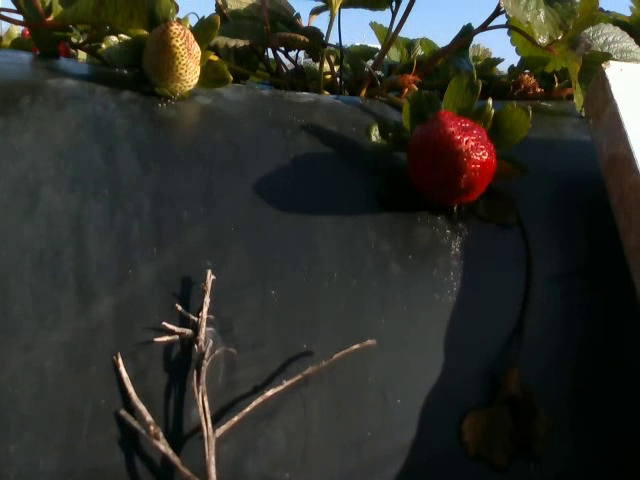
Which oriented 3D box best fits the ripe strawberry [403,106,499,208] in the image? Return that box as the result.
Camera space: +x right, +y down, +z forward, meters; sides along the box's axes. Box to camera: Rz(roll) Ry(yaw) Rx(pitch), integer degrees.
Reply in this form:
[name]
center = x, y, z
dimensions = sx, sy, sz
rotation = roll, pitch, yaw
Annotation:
[ripe strawberry]
center = 0.017, -0.012, 0.076
dimensions = 0.015, 0.015, 0.022
rotation = 13, 3, 3
